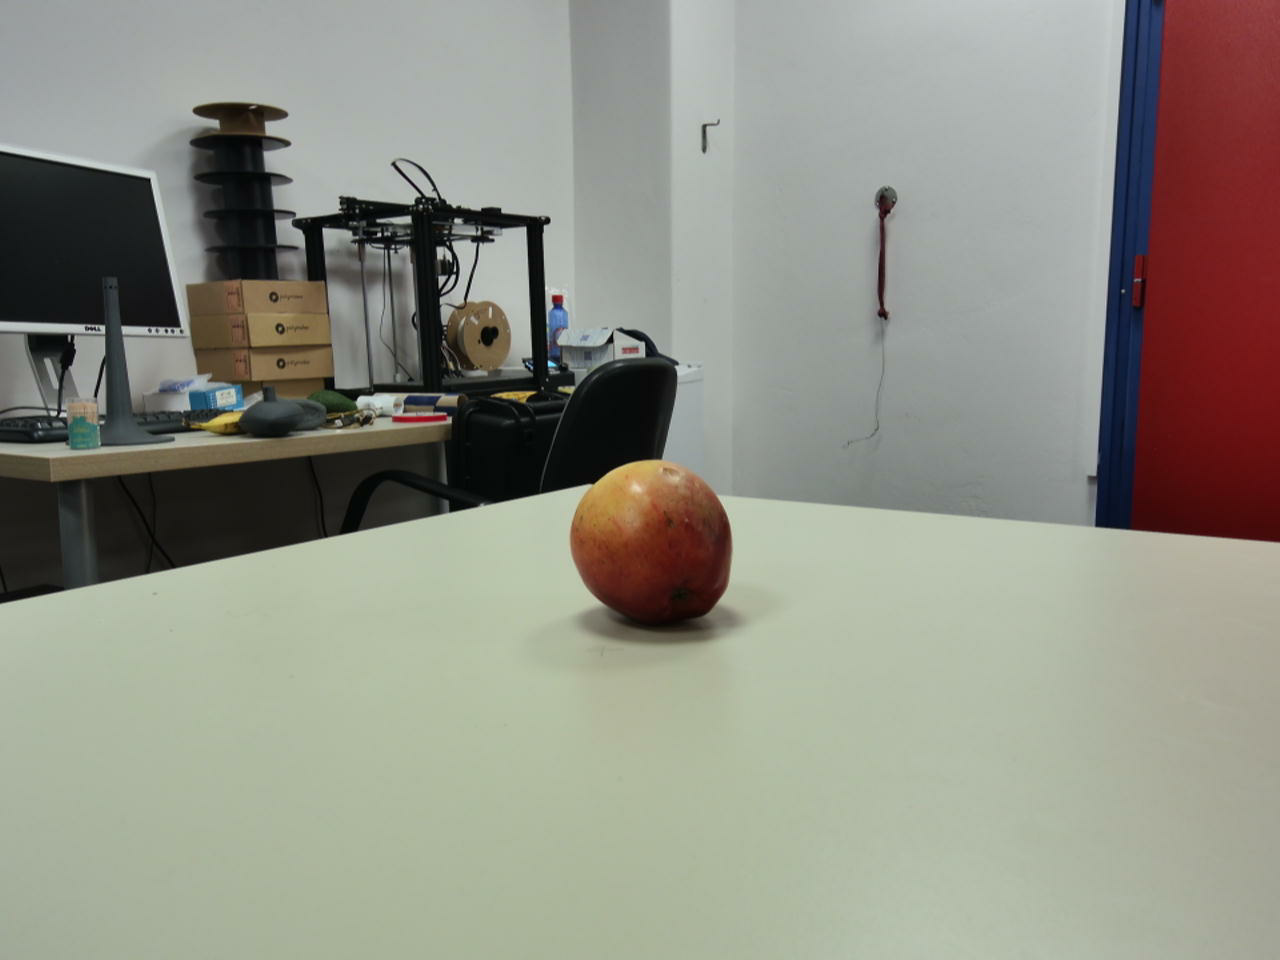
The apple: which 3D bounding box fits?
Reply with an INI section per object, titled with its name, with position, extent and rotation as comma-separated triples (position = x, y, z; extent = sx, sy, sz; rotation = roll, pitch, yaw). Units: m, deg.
[apple]
position = 0.006, 0.032, 0.539
extent = 0.086, 0.084, 0.093
rotation = 0, 6, 0
